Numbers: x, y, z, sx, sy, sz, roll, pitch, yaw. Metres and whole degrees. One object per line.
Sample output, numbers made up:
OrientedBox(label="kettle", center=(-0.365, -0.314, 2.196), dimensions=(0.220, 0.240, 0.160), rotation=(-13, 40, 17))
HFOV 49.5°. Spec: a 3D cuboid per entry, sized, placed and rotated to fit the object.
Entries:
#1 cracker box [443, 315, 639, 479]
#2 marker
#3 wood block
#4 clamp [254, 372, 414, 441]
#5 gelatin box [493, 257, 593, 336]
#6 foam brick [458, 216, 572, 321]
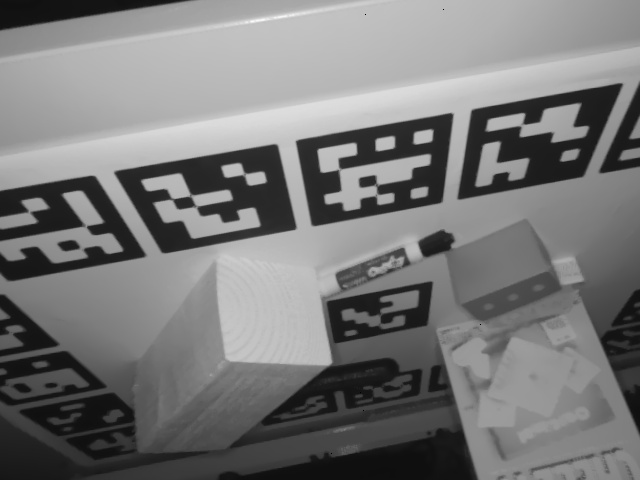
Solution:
OrientedBox(label="cracker box", center=(0.227, 0.196, 0.696), dimensions=(0.164, 0.214, 0.071), rotation=(-11, 144, 2))
OrientedBox(label="marker", center=(0.076, 0.013, 0.584), dimensions=(0.120, 0.020, 0.020), rotation=(-23, 140, 13))
OrientedBox(label="wood block", center=(-0.072, 0.106, 0.611), dimensions=(0.091, 0.091, 0.203), rotation=(11, 140, -30))
OrientedBox(label="clamp", center=(-0.023, 0.170, 0.745), dimensions=(0.200, 0.037, 0.166), rotation=(-31, 138, 22))
OrientedBox(label="gelatin box", center=(0.216, 0.057, 0.678), dimensions=(0.089, 0.030, 0.073), rotation=(-12, 141, -1))
OrientedBox(label="foam brick", center=(0.169, 0.026, 0.603), dimensions=(0.077, 0.051, 0.053), rotation=(-26, 139, 18))
